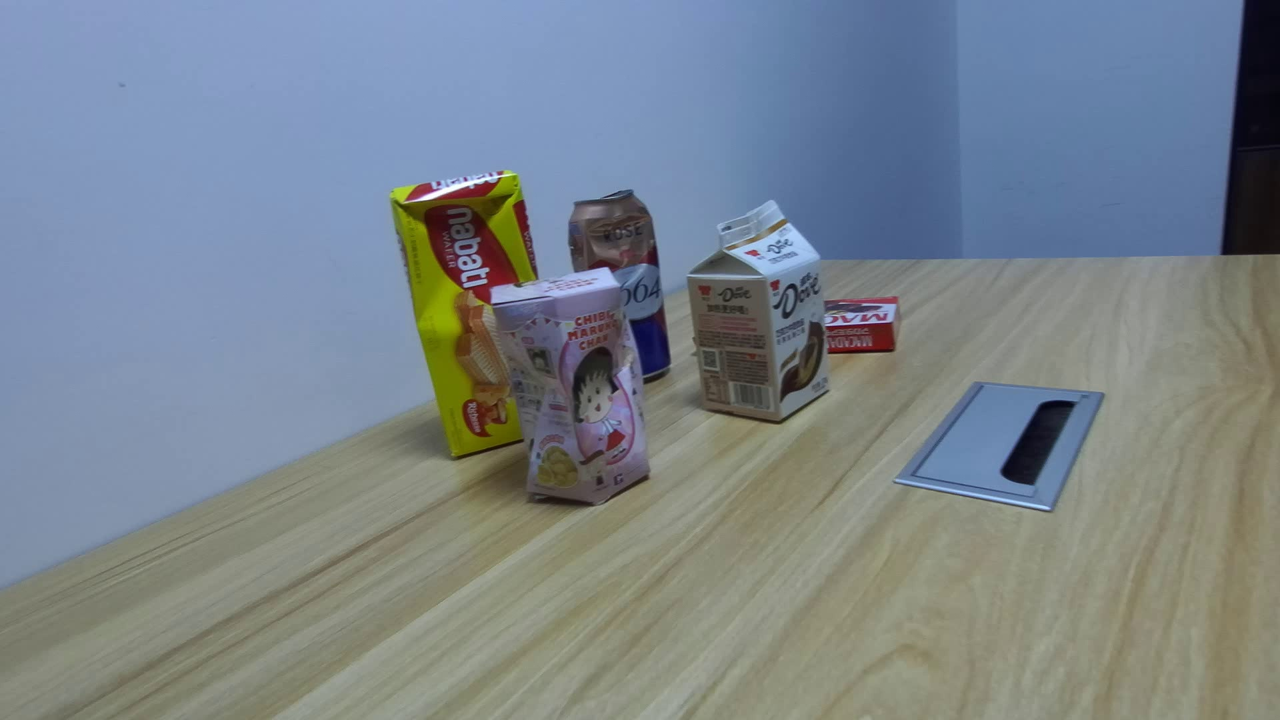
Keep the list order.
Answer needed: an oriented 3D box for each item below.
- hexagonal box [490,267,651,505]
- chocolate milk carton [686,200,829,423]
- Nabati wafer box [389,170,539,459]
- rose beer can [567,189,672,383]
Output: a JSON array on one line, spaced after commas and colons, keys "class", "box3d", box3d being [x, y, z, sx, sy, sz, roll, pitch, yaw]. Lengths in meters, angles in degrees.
[{"class": "hexagonal box", "box3d": [-0.046, 0.017, 0.453, 0.093, 0.135, 0.089, -3, 18, 18]}, {"class": "chocolate milk carton", "box3d": [0.088, -0.039, 0.527, 0.073, 0.148, 0.076, 8, 23, 43]}, {"class": "Nabati wafer box", "box3d": [-0.120, -0.034, 0.539, 0.096, 0.203, 0.042, -12, 15, -14]}, {"class": "rose beer can", "box3d": [-0.015, -0.065, 0.640, 0.076, 0.167, 0.065, -17, 17, -10]}]
